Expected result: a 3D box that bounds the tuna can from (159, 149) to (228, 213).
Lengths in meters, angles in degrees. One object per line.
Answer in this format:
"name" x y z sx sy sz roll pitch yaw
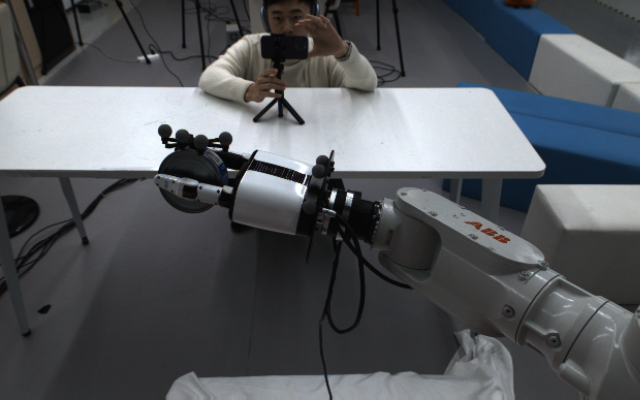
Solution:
"tuna can" -0.164 -0.027 0.634 0.085 0.085 0.034 6 17 5
